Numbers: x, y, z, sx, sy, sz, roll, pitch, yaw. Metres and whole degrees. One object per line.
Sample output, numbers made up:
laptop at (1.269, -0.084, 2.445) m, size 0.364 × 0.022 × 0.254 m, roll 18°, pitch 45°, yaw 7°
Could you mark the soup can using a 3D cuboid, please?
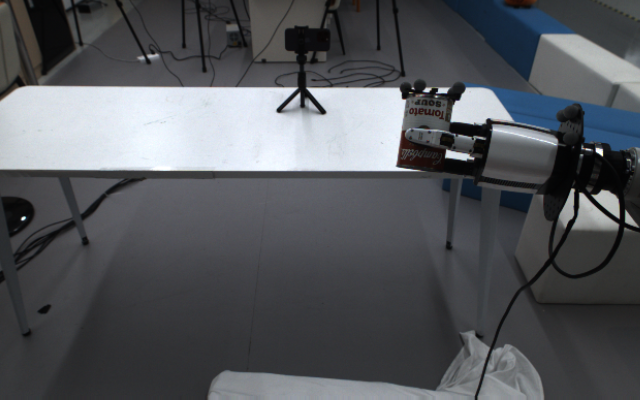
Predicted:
soup can at (0.150, -0.095, 0.690) m, size 0.067 × 0.101 × 0.067 m, roll 7°, pitch 4°, yaw 0°
